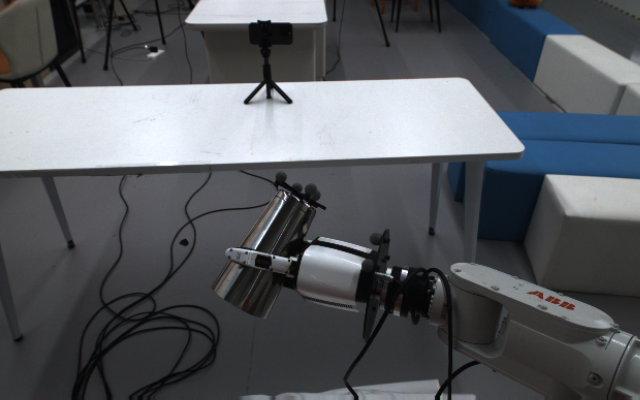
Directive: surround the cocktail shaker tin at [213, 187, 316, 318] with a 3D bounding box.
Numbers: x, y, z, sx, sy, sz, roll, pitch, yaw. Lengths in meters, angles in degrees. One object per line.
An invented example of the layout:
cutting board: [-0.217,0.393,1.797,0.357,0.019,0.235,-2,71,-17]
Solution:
cocktail shaker tin: [-0.076,0.073,0.704,0.093,0.093,0.170,26,83,30]
